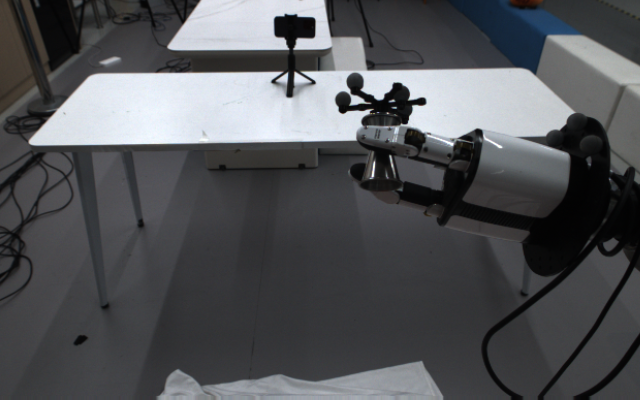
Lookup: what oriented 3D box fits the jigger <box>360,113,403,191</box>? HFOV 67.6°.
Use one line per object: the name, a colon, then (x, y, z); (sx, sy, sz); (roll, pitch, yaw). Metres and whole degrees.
jigger: (0.060, -0.047, 0.478); (0.043, 0.043, 0.071); (3, 76, 1)
